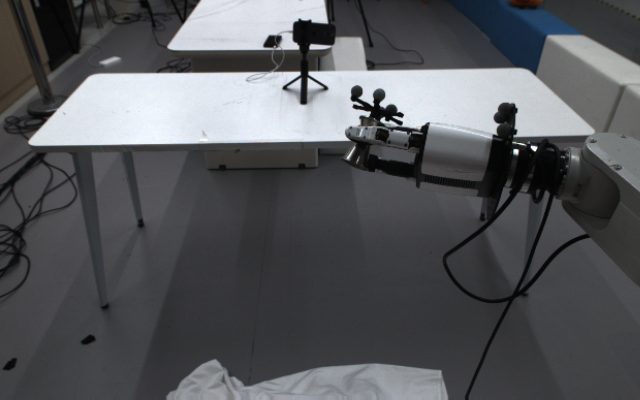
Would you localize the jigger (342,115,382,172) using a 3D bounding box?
[{"bbox_3d":[0.060,-0.083,0.687,0.043,0.071,0.043,24,-3,1],"label":"jigger"}]
